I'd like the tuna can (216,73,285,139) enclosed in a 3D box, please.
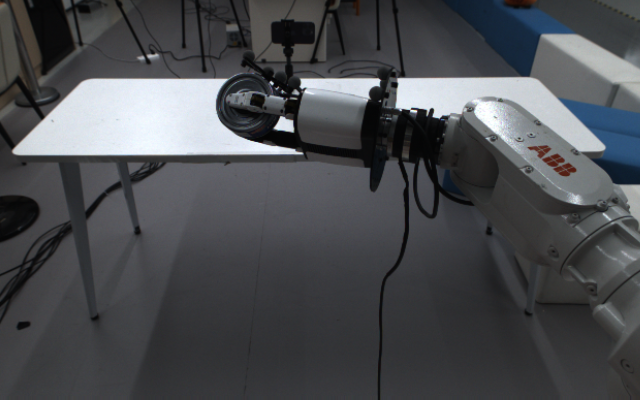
[{"bbox_3d":[-0.095,-0.124,0.660,0.085,0.085,0.034,12,-5,14],"label":"tuna can"}]
